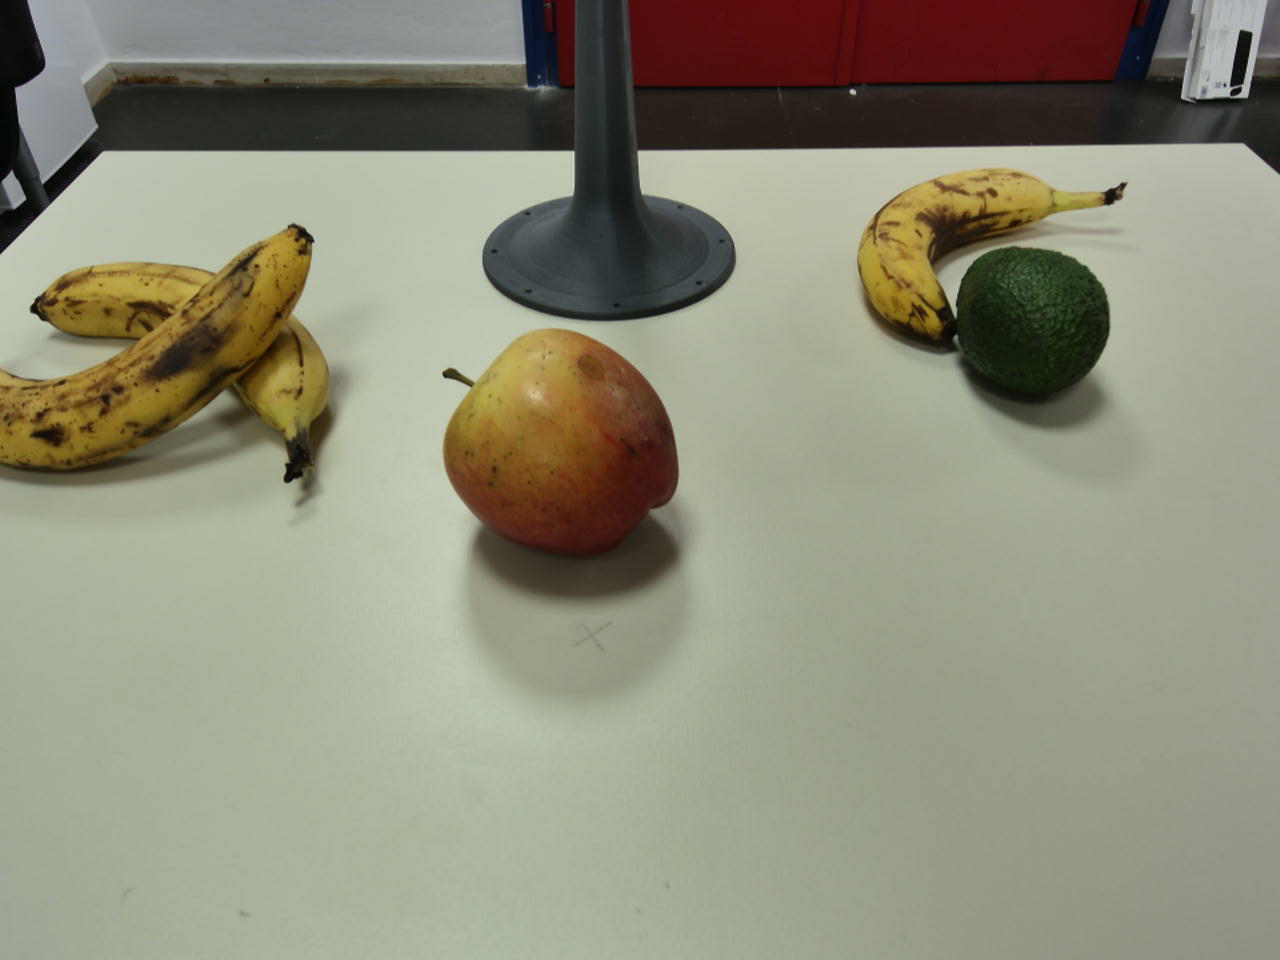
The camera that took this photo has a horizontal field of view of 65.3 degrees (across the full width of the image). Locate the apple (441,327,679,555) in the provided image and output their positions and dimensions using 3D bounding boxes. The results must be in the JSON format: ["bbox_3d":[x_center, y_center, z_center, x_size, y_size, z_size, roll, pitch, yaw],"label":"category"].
[{"bbox_3d":[-0.032,-0.015,0.390,0.086,0.084,0.093,-24,44,-27],"label":"apple"}]
